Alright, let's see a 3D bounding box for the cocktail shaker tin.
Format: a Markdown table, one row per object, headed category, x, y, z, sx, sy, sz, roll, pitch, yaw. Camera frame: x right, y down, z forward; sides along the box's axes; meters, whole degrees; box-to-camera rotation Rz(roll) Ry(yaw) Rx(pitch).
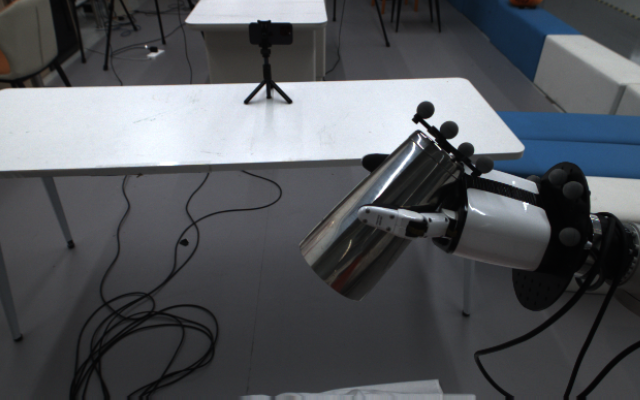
| category | x | y | z | sx | sy | sz | roll | pitch | yaw |
| --- | --- | --- | --- | --- | --- | --- | --- | --- | --- |
| cocktail shaker tin | 0.069 | 0.009 | 0.508 | 0.093 | 0.170 | 0.093 | 41 | 12 | -11 |
